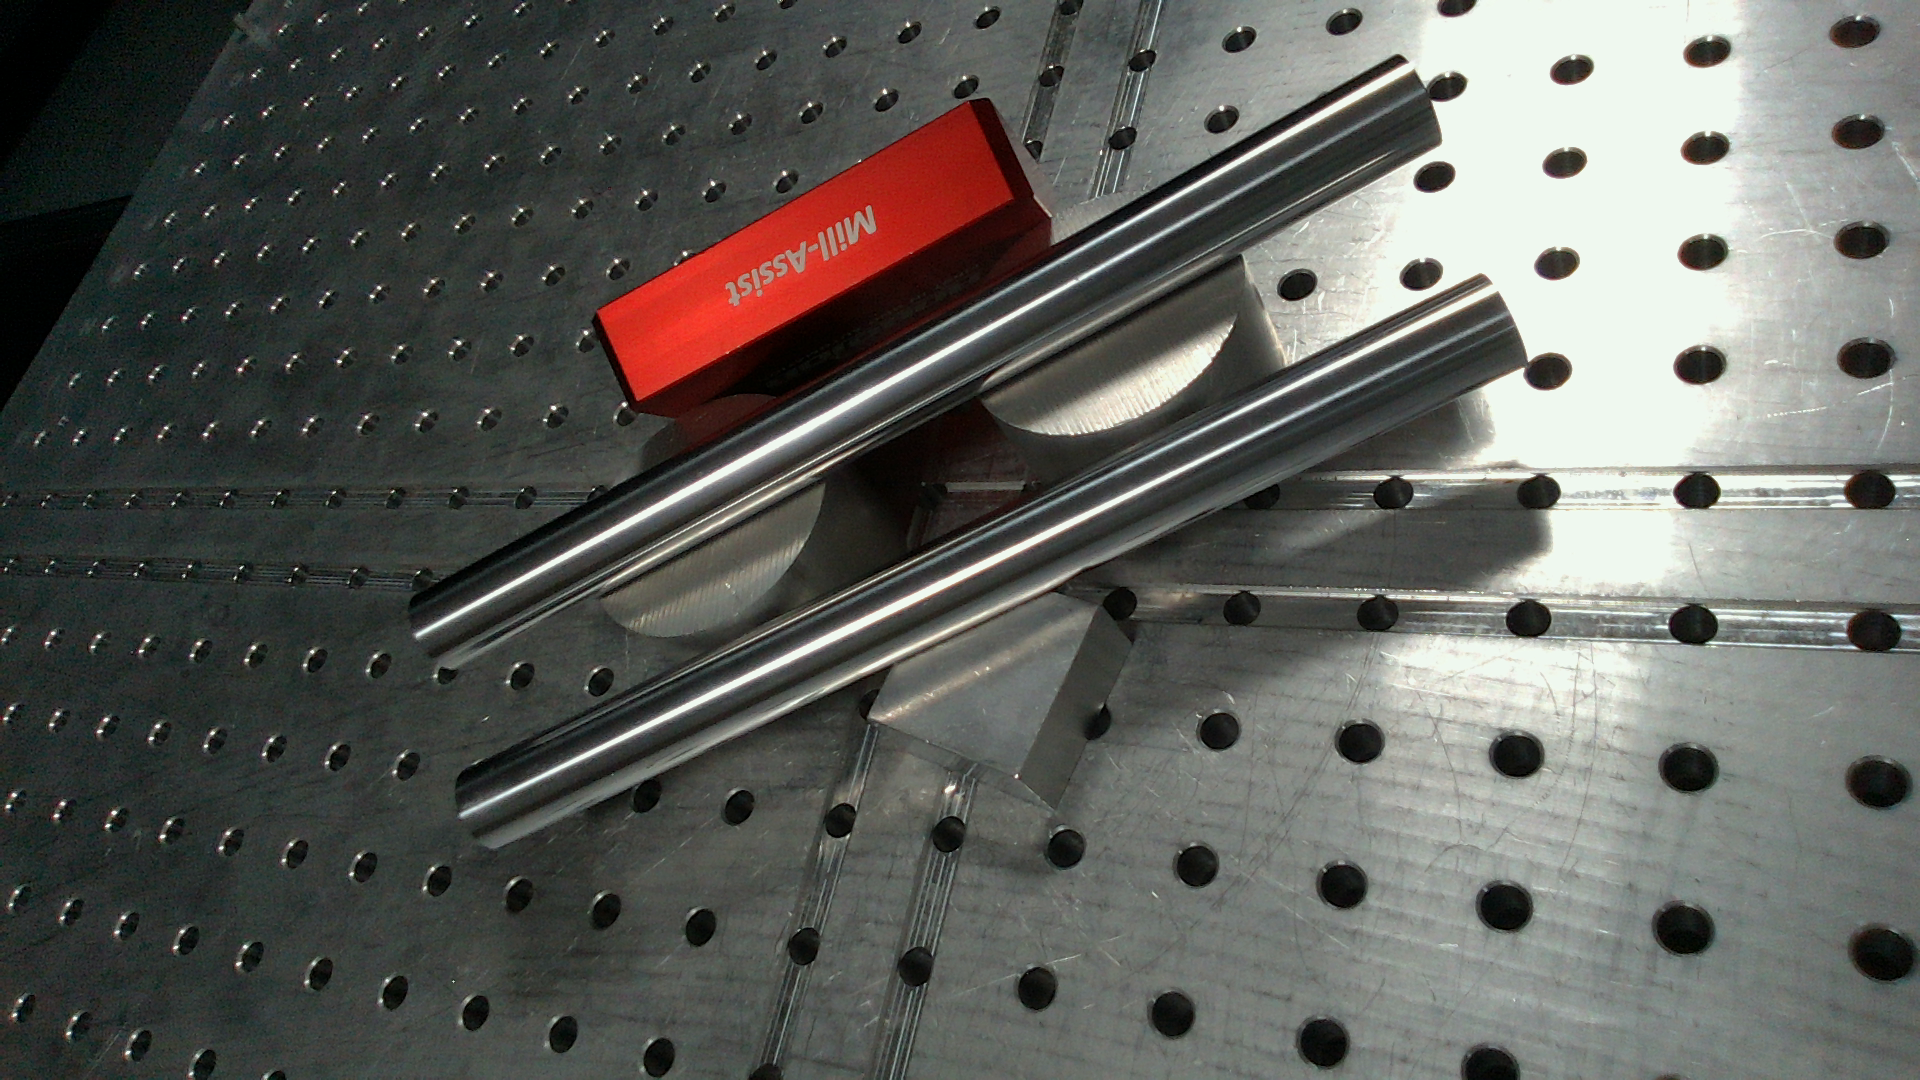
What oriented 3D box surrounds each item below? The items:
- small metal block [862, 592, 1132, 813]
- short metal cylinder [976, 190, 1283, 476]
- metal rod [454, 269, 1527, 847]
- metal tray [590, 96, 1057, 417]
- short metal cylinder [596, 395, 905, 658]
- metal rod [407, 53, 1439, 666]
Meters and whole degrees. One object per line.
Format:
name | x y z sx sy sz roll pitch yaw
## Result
small metal block | 0.010 0.038 0.367 0.050 0.025 0.050 16 70 35
short metal cylinder | 0.047 -0.051 0.387 0.080 0.050 0.080 -14 56 21
metal rod | -0.003 0.011 0.358 0.299 0.025 0.025 -26 52 12
metal tray | -0.034 -0.078 0.420 0.130 0.090 0.030 -26 84 12
short metal cylinder | -0.063 0.004 0.413 0.080 0.050 0.080 -14 56 21
metal rod | -0.019 -0.041 0.367 0.300 0.025 0.025 -27 52 12
